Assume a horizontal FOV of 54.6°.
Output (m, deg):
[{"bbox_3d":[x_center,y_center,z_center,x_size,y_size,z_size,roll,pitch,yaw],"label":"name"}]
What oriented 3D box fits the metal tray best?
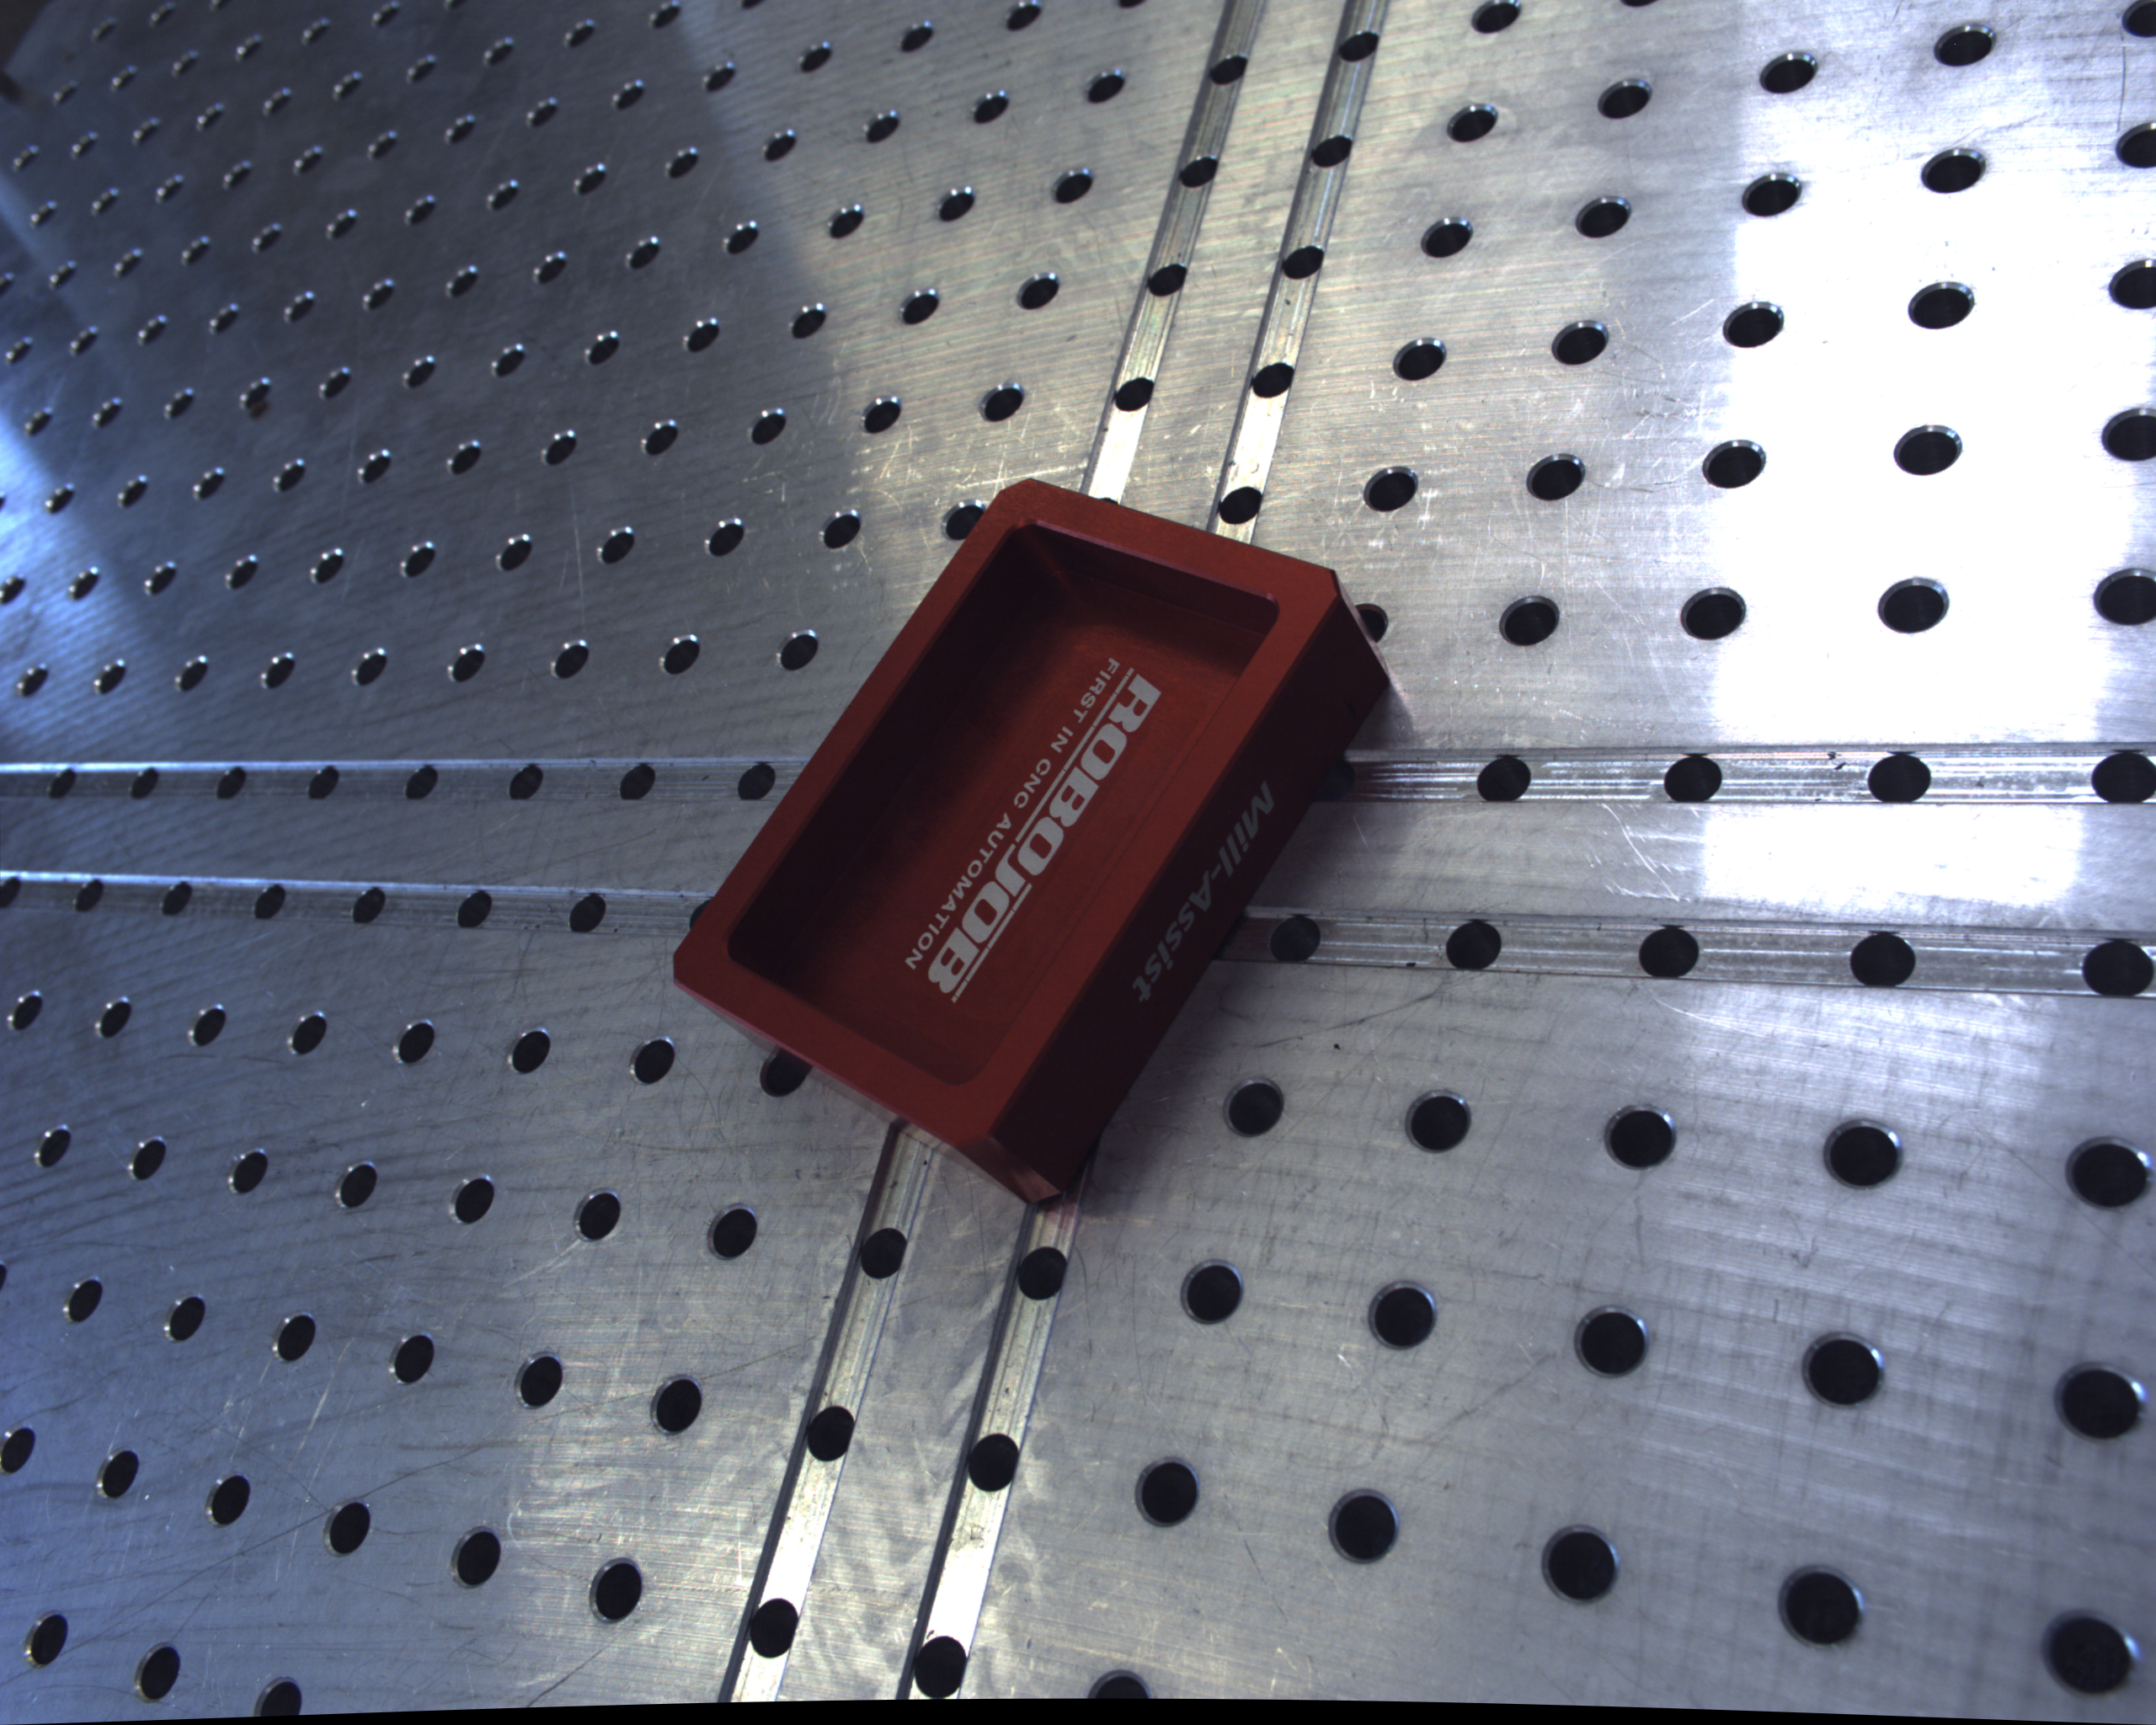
[{"bbox_3d":[-0.010,-0.009,0.416,0.090,0.030,0.130,24,75,36],"label":"metal tray"}]
